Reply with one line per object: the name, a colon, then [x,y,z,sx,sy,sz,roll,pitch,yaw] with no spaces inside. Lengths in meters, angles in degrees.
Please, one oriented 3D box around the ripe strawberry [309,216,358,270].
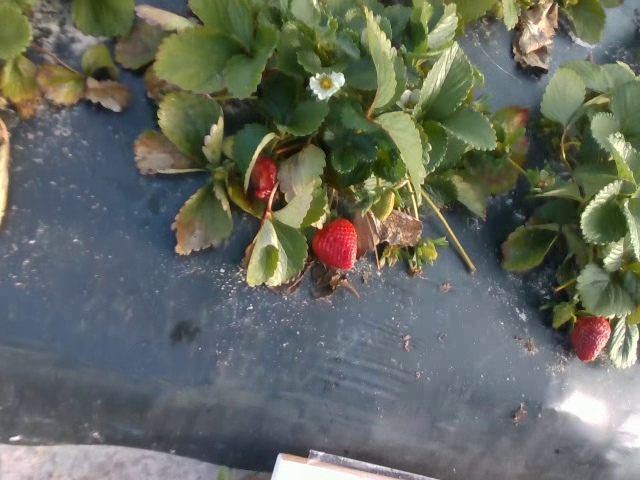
ripe strawberry: [0.009,0.005,0.337,0.032,0.030,0.025,-21,-18,-11]
